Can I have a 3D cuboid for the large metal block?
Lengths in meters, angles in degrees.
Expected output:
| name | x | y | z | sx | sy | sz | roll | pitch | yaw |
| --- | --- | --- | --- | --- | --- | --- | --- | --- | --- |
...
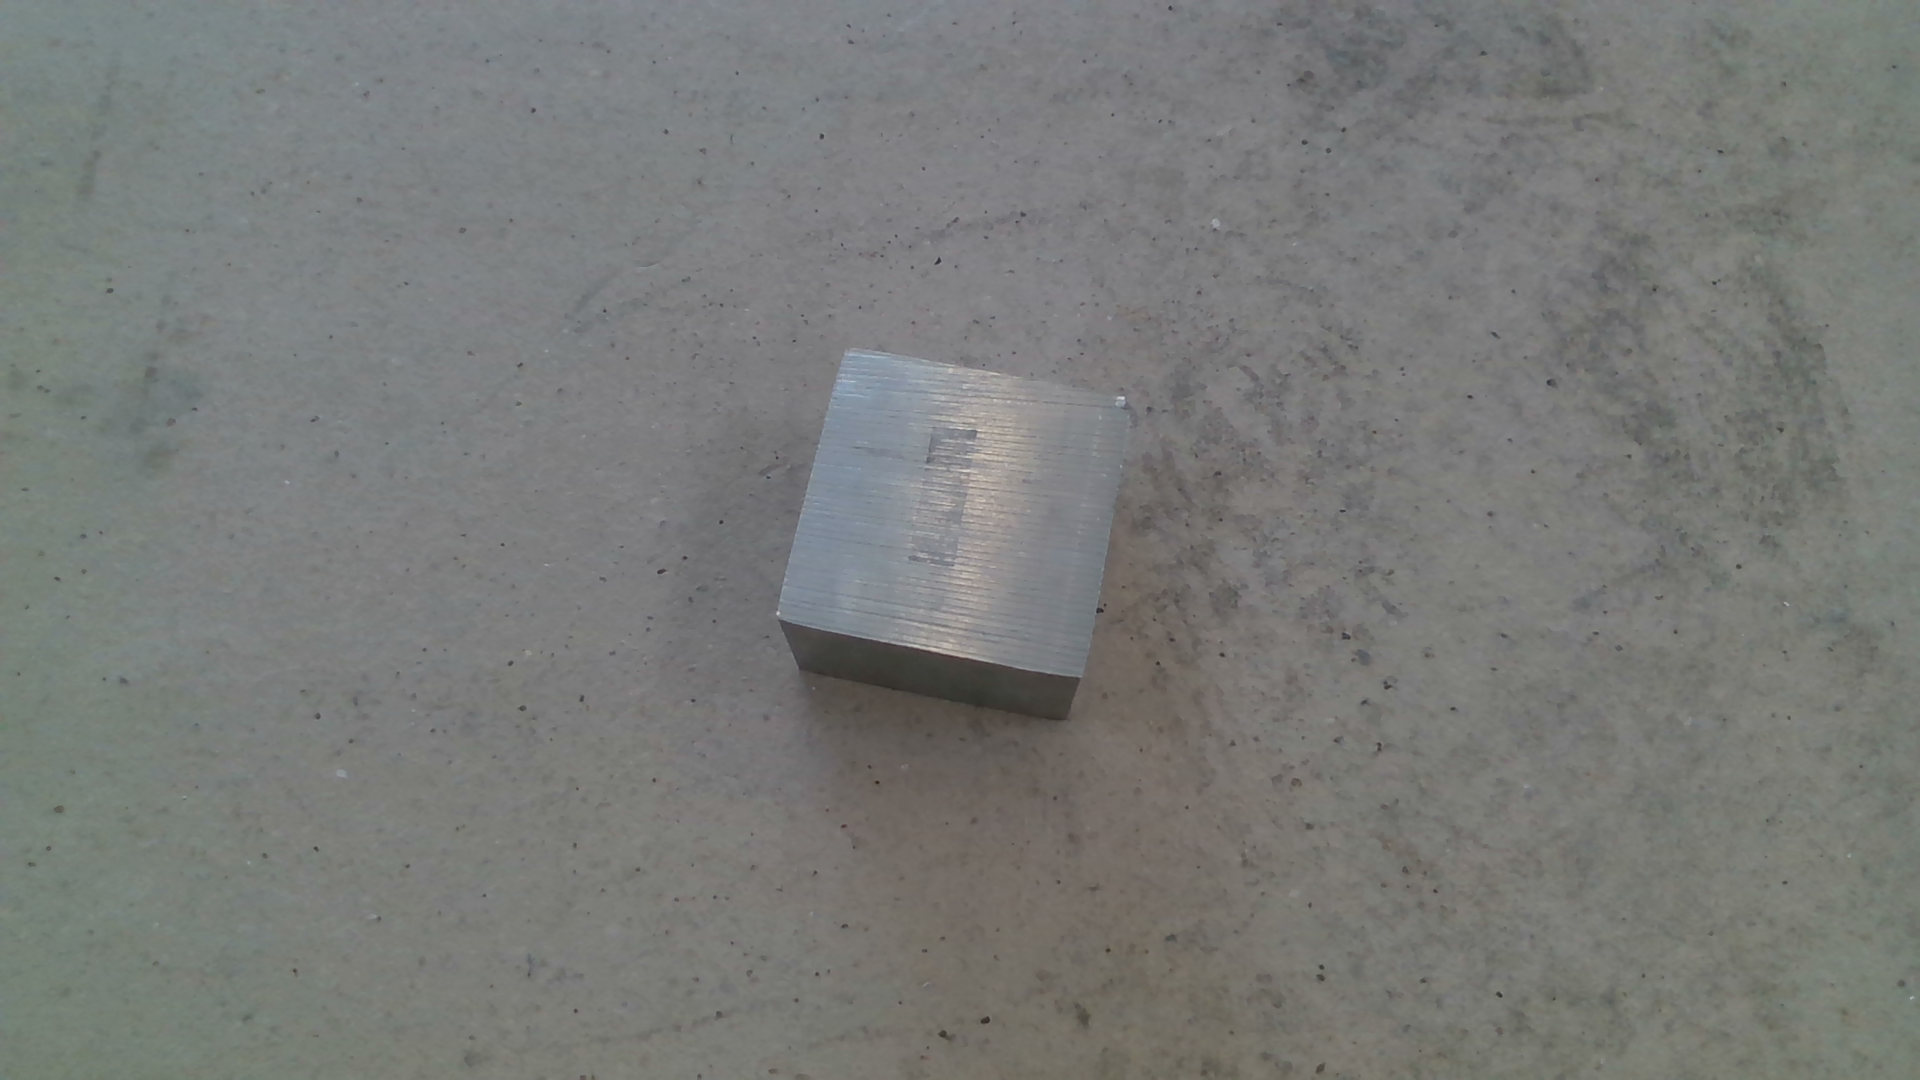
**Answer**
| name | x | y | z | sx | sy | sz | roll | pitch | yaw |
| --- | --- | --- | --- | --- | --- | --- | --- | --- | --- |
| large metal block | -0.001 | -0.001 | 0.383 | 0.080 | 0.050 | 0.080 | 11 | 72 | 4 |
